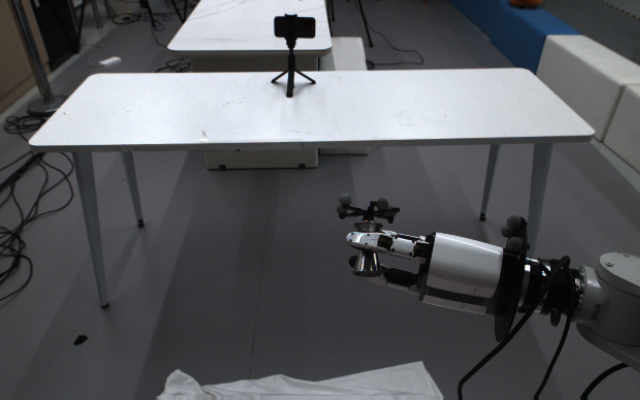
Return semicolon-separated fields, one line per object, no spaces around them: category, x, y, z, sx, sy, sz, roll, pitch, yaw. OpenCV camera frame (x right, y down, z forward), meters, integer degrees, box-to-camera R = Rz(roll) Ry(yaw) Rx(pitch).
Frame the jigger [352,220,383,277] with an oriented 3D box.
jigger;0.063;0.065;0.649;0.043;0.043;0.071;3;72;1
